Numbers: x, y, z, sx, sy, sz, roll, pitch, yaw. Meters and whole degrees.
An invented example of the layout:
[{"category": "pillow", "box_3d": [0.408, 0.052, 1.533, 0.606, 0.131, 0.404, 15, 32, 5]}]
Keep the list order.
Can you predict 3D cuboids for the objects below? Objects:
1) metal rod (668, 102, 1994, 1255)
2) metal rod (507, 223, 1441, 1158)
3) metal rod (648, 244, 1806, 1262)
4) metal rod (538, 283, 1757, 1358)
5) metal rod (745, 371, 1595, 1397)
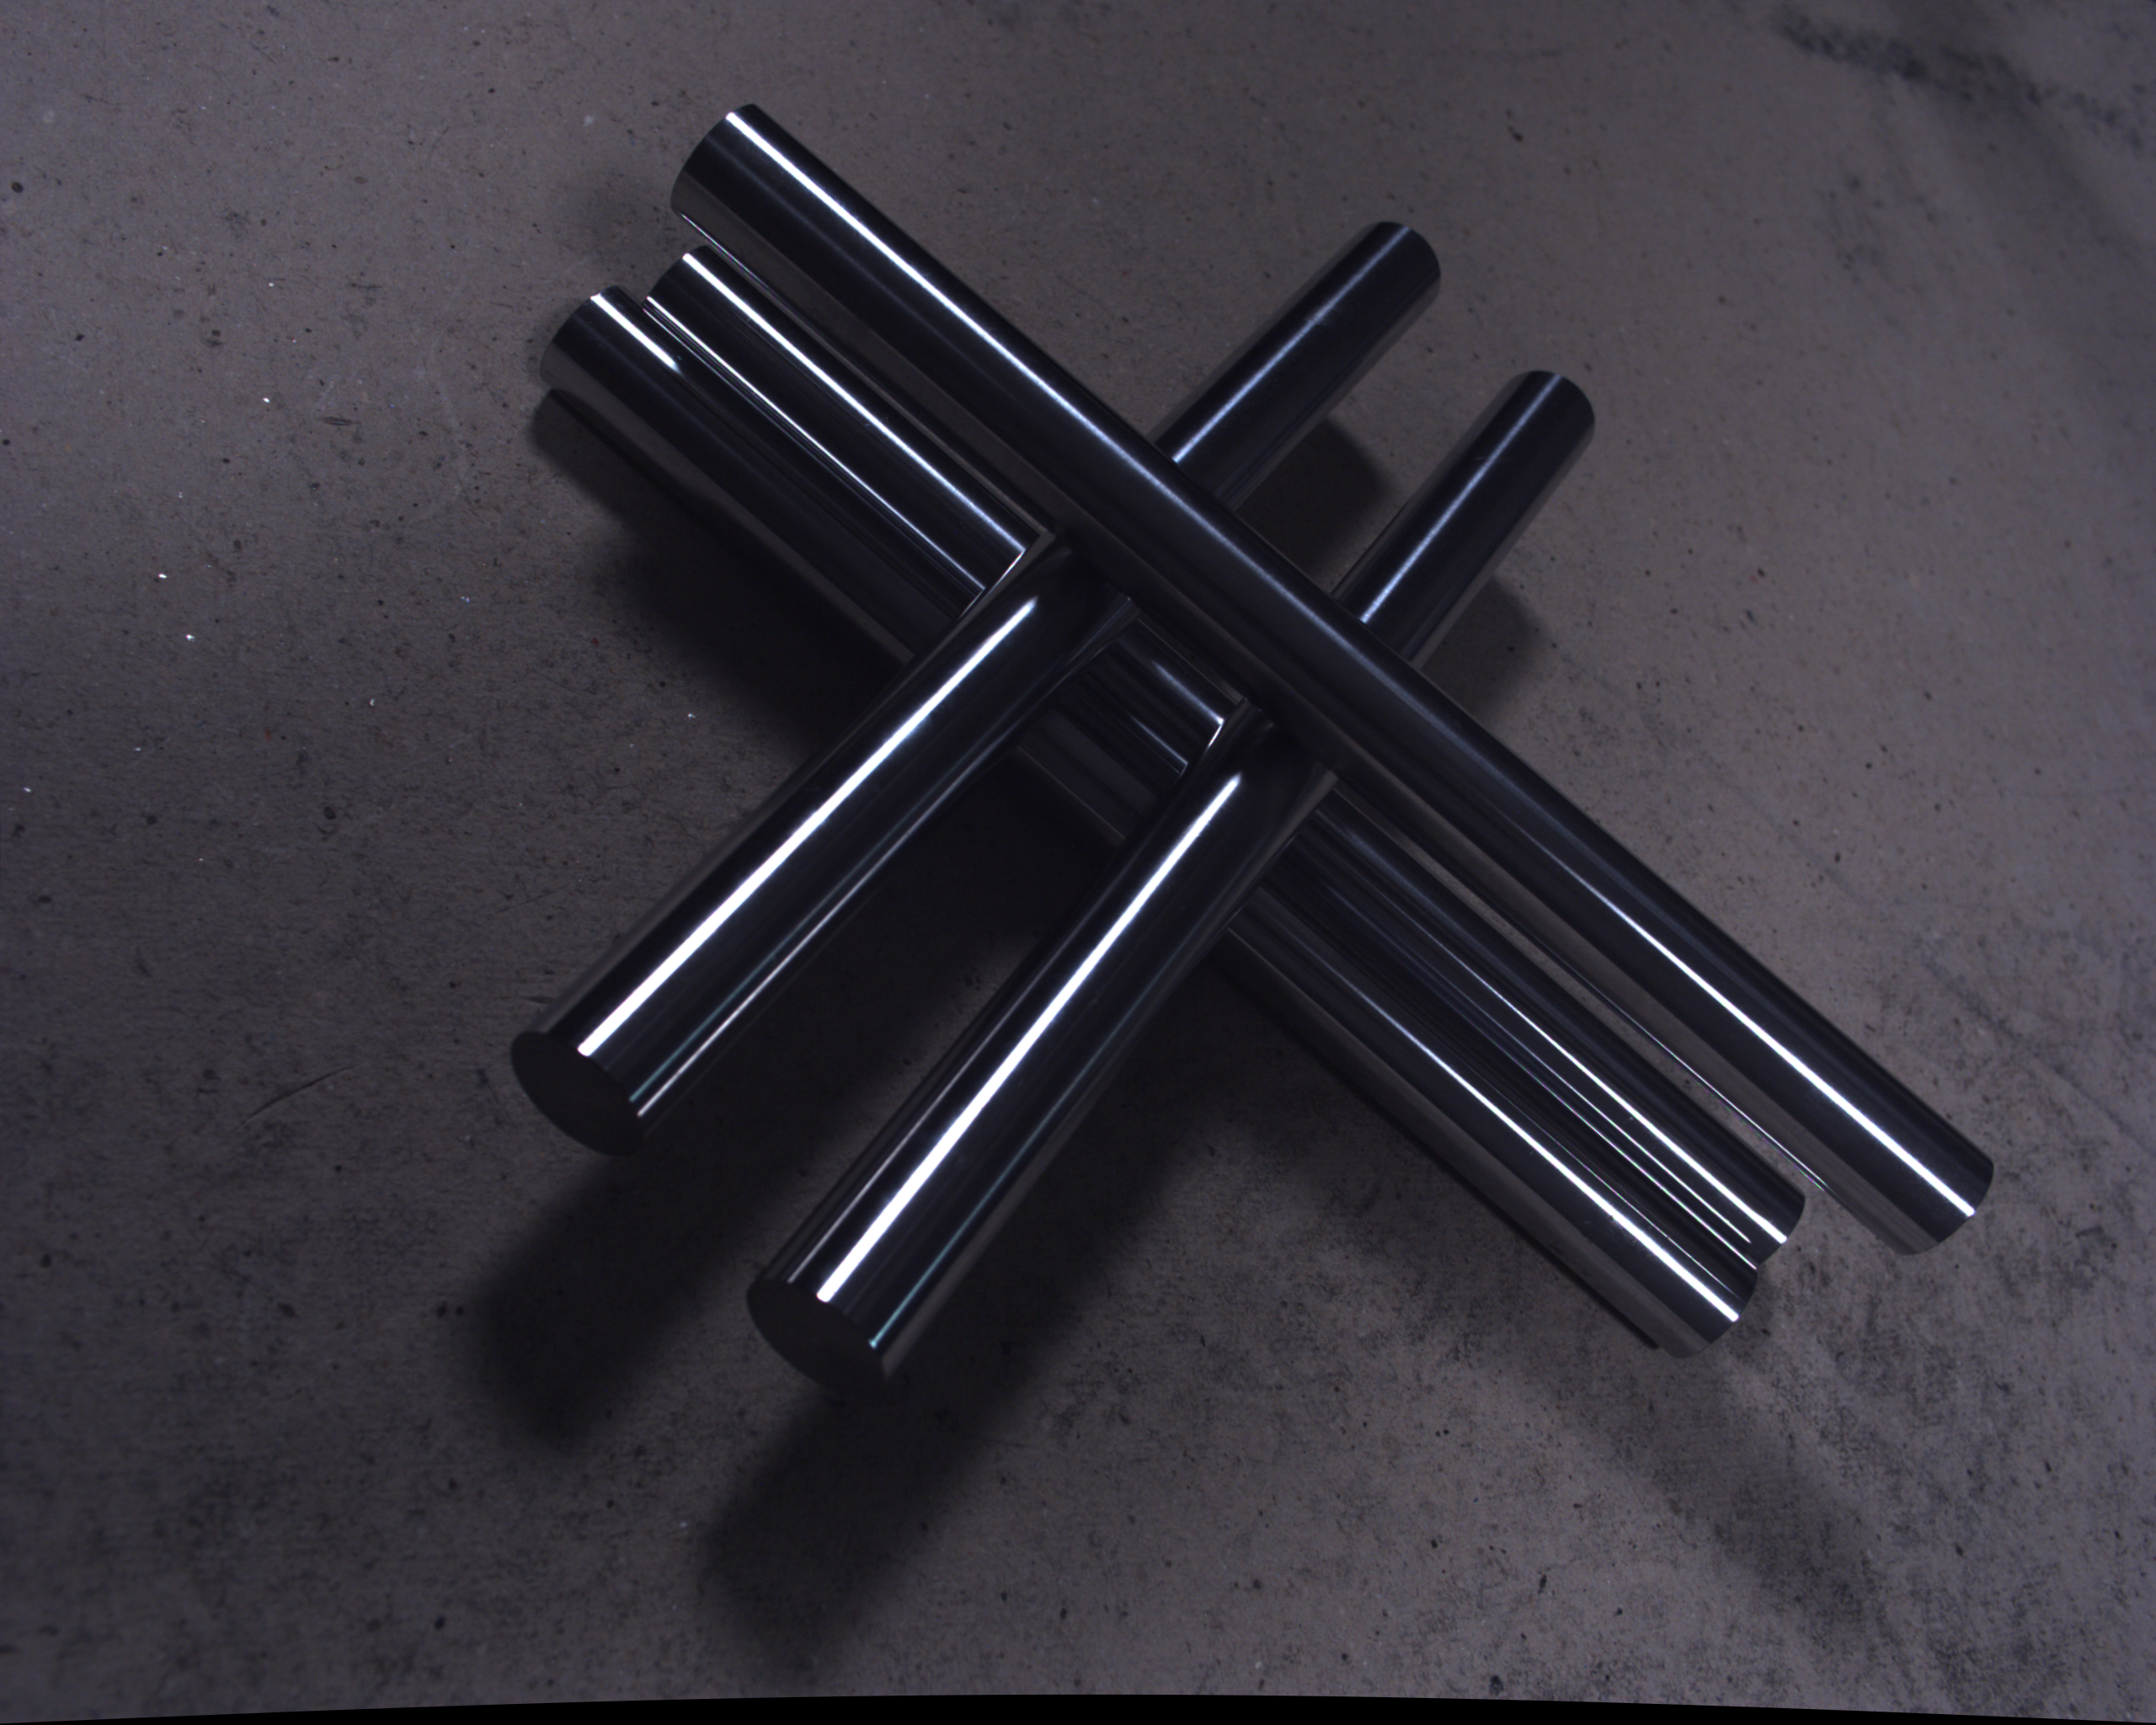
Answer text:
[{"category": "metal rod", "box_3d": [0.047, -0.033, 0.388, 0.300, 0.025, 0.025, 40, 51, -1]}, {"category": "metal rod", "box_3d": [0.000, -0.054, 0.407, 0.025, 0.025, 0.301, 41, 51, -1]}, {"category": "metal rod", "box_3d": [0.030, -0.020, 0.435, 0.300, 0.025, 0.025, 41, 51, -1]}, {"category": "metal rod", "box_3d": [0.014, -0.008, 0.419, 0.300, 0.025, 0.025, 41, 51, -1]}, {"category": "metal rod", "box_3d": [0.036, -0.018, 0.405, 0.025, 0.025, 0.301, 41, 51, -1]}]
